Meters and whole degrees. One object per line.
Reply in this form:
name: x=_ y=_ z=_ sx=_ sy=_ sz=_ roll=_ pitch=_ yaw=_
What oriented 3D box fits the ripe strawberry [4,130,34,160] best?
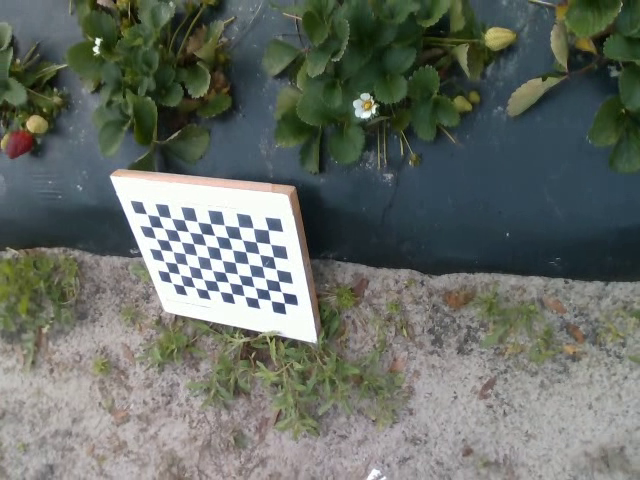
ripe strawberry: x=-0.513 y=-0.159 z=1.010 sx=0.046 sy=0.059 sz=0.046 roll=4 pitch=-32 yaw=27
